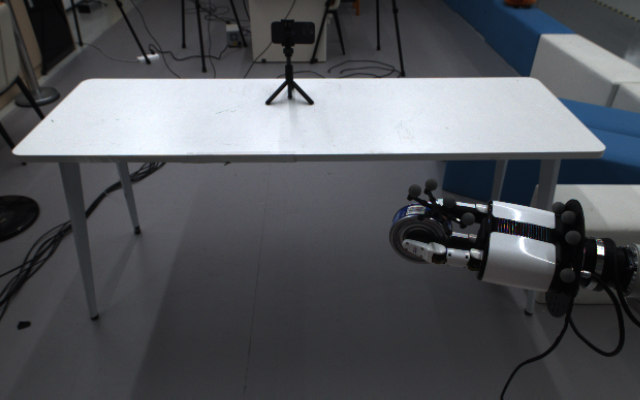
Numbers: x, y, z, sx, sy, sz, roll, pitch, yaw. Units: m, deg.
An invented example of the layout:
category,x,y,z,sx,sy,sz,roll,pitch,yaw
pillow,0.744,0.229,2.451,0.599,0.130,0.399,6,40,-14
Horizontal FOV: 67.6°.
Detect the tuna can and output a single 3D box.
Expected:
category,x,y,z,sx,sy,sz,roll,pitch,yaw
tuna can,0.144,0.046,0.683,0.085,0.085,0.034,12,35,14
